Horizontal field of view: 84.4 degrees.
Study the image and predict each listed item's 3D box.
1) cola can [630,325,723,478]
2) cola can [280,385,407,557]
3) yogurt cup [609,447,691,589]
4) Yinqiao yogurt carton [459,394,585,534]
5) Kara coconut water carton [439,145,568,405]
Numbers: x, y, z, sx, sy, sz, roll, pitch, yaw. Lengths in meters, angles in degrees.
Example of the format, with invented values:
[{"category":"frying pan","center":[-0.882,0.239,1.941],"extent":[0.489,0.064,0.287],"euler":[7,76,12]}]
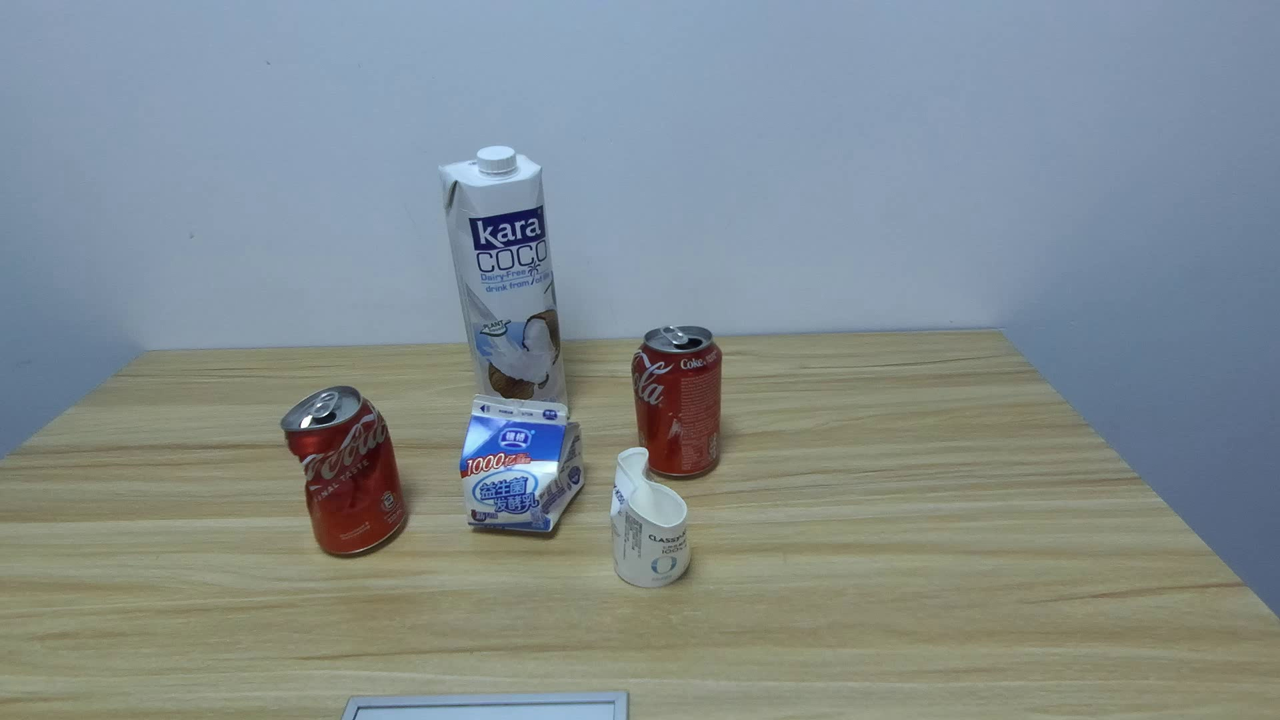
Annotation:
[{"category":"cola can","center":[0.030,0.033,0.564],"extent":[0.072,0.117,0.065],"euler":[-2,29,1]},{"category":"cola can","center":[-0.211,0.080,0.509],"extent":[0.065,0.112,0.069],"euler":[19,35,37]},{"category":"yogurt cup","center":[0.008,0.108,0.474],"extent":[0.075,0.071,0.054],"euler":[25,38,36]},{"category":"Yinqiao yogurt carton","center":[-0.087,0.072,0.525],"extent":[0.074,0.097,0.080],"euler":[2,22,8]},{"category":"Kara coconut water carton","center":[-0.113,-0.057,0.606],"extent":[0.077,0.245,0.075],"euler":[-15,29,-21]}]
